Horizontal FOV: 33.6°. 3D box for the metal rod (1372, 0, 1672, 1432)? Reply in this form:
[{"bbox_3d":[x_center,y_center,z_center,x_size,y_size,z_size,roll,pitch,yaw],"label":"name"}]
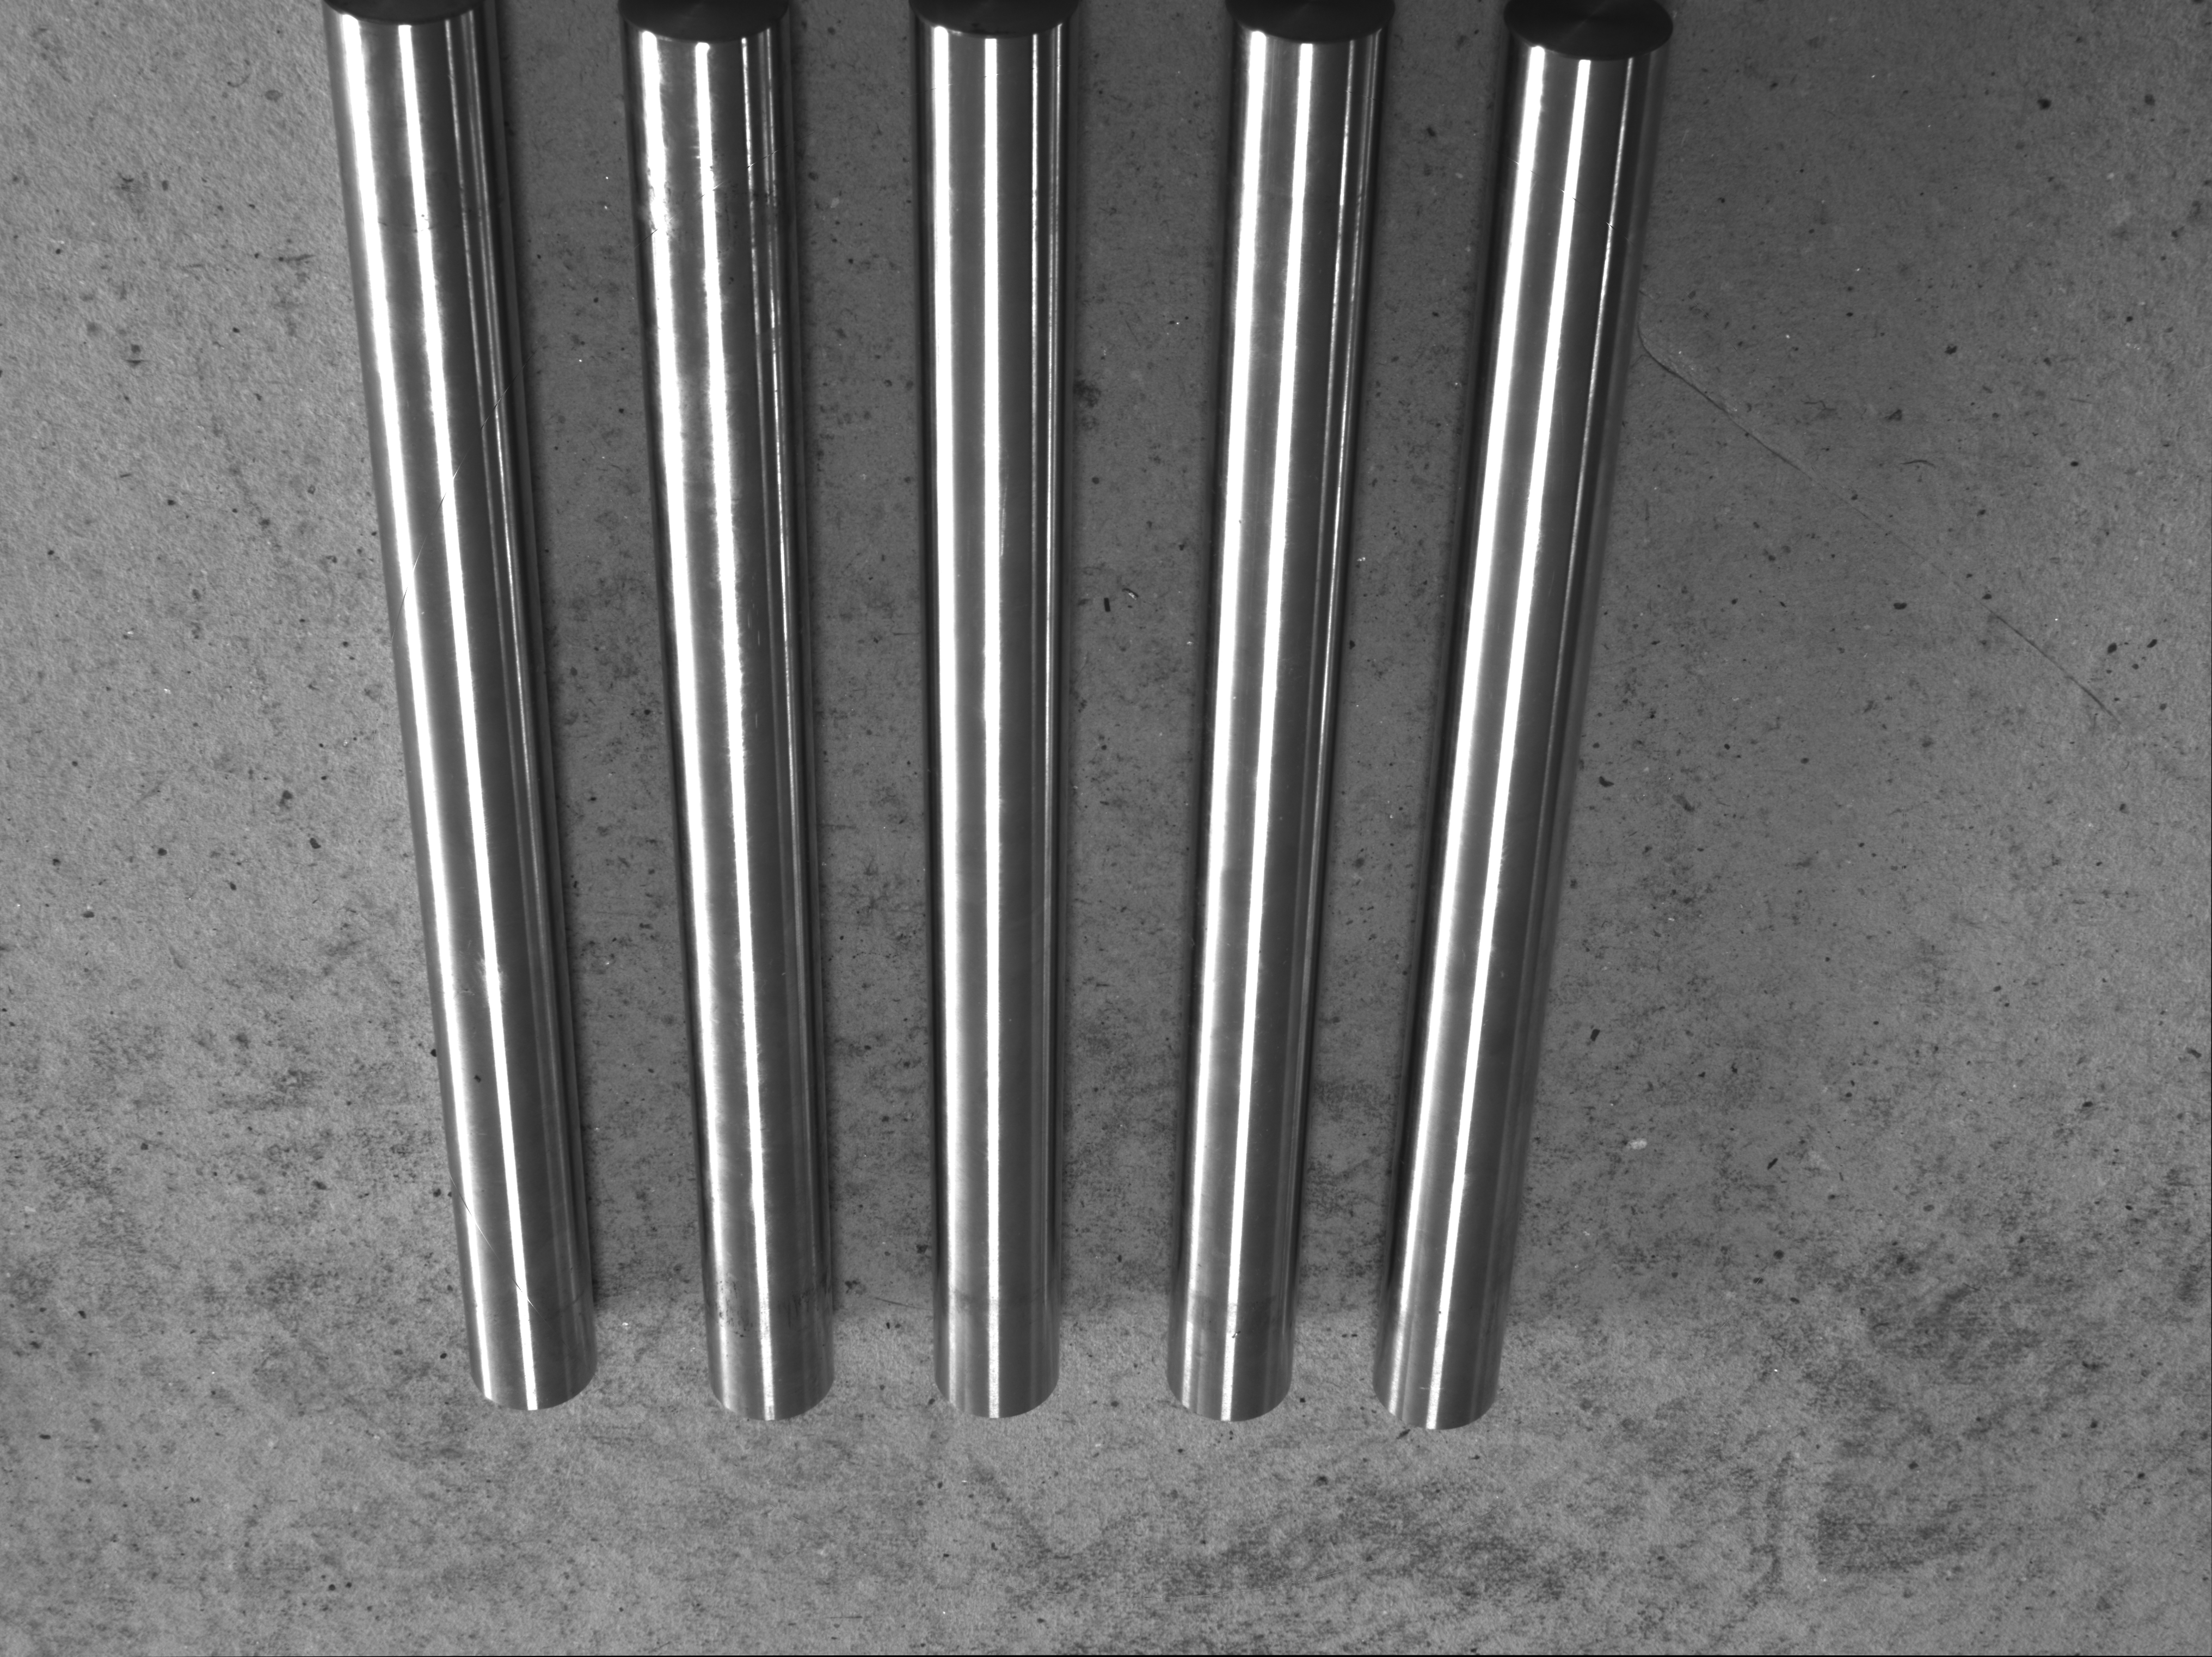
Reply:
[{"bbox_3d":[0.068,-0.004,0.636,0.025,0.025,0.300,1,130,-1],"label":"metal rod"}]

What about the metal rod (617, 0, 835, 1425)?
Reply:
[{"bbox_3d":[-0.063,-0.006,0.634,0.025,0.025,0.300,1,130,-1],"label":"metal rod"}]

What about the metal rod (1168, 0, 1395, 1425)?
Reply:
[{"bbox_3d":[0.027,-0.006,0.634,0.025,0.025,0.300,1,130,-1],"label":"metal rod"}]

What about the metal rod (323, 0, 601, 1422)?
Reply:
[{"bbox_3d":[-0.107,-0.007,0.631,0.025,0.025,0.300,2,130,-1],"label":"metal rod"}]

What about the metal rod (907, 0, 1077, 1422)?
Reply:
[{"bbox_3d":[-0.019,-0.007,0.633,0.025,0.025,0.300,1,130,-1],"label":"metal rod"}]
